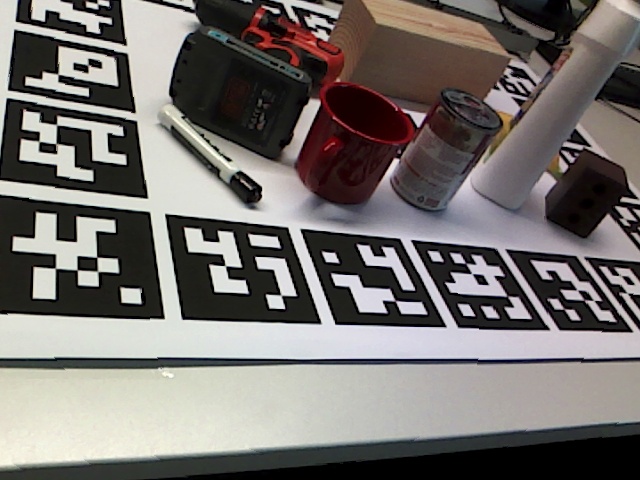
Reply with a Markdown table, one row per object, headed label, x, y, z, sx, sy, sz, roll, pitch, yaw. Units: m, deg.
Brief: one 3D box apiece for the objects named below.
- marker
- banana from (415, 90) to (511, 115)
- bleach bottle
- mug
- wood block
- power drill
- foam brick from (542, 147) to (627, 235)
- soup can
| label | x | y | z | sx | sy | sz | roll | pitch | yaw |
| --- | --- | --- | --- | --- | --- | --- | --- | --- | --- |
| marker | -0.089 | -0.060 | 0.524 | 0.121 | 0.019 | 0.019 | 43 | 43 | 17 |
| banana | 0.208 | -0.154 | 0.787 | 0.196 | 0.039 | 0.074 | 16 | 53 | -18 |
| bleach bottle | 0.248 | -0.153 | 0.641 | 0.068 | 0.251 | 0.103 | 23 | 37 | -6 |
| mug | 0.024 | -0.080 | 0.559 | 0.093 | 0.081 | 0.117 | 33 | 41 | 3 |
| wood block | 0.118 | -0.237 | 0.791 | 0.205 | 0.091 | 0.090 | 2 | 46 | -29 |
| power drill | -0.069 | -0.175 | 0.640 | 0.184 | 0.057 | 0.187 | 25 | 37 | -9 |
| foam brick | 0.298 | -0.056 | 0.704 | 0.053 | 0.078 | 0.051 | 25 | 36 | -1 |
| soup can | 0.123 | -0.089 | 0.605 | 0.067 | 0.102 | 0.068 | 18 | 35 | -13 |
